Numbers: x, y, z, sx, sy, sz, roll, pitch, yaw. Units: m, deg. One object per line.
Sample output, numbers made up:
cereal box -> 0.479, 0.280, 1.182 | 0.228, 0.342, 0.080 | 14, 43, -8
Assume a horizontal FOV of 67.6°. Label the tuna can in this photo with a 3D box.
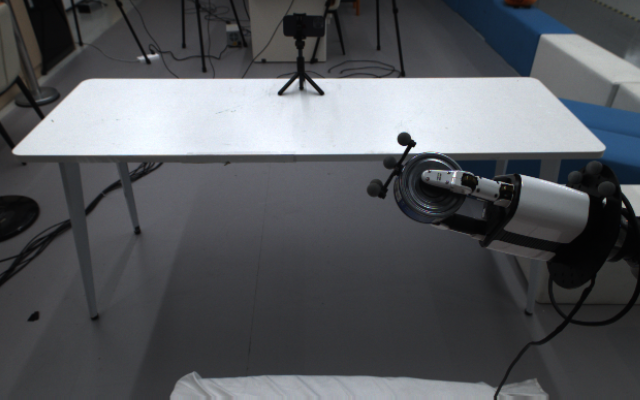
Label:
tuna can -> 0.140, -0.017, 0.602 | 0.085, 0.034, 0.085 | 1, 75, -5
